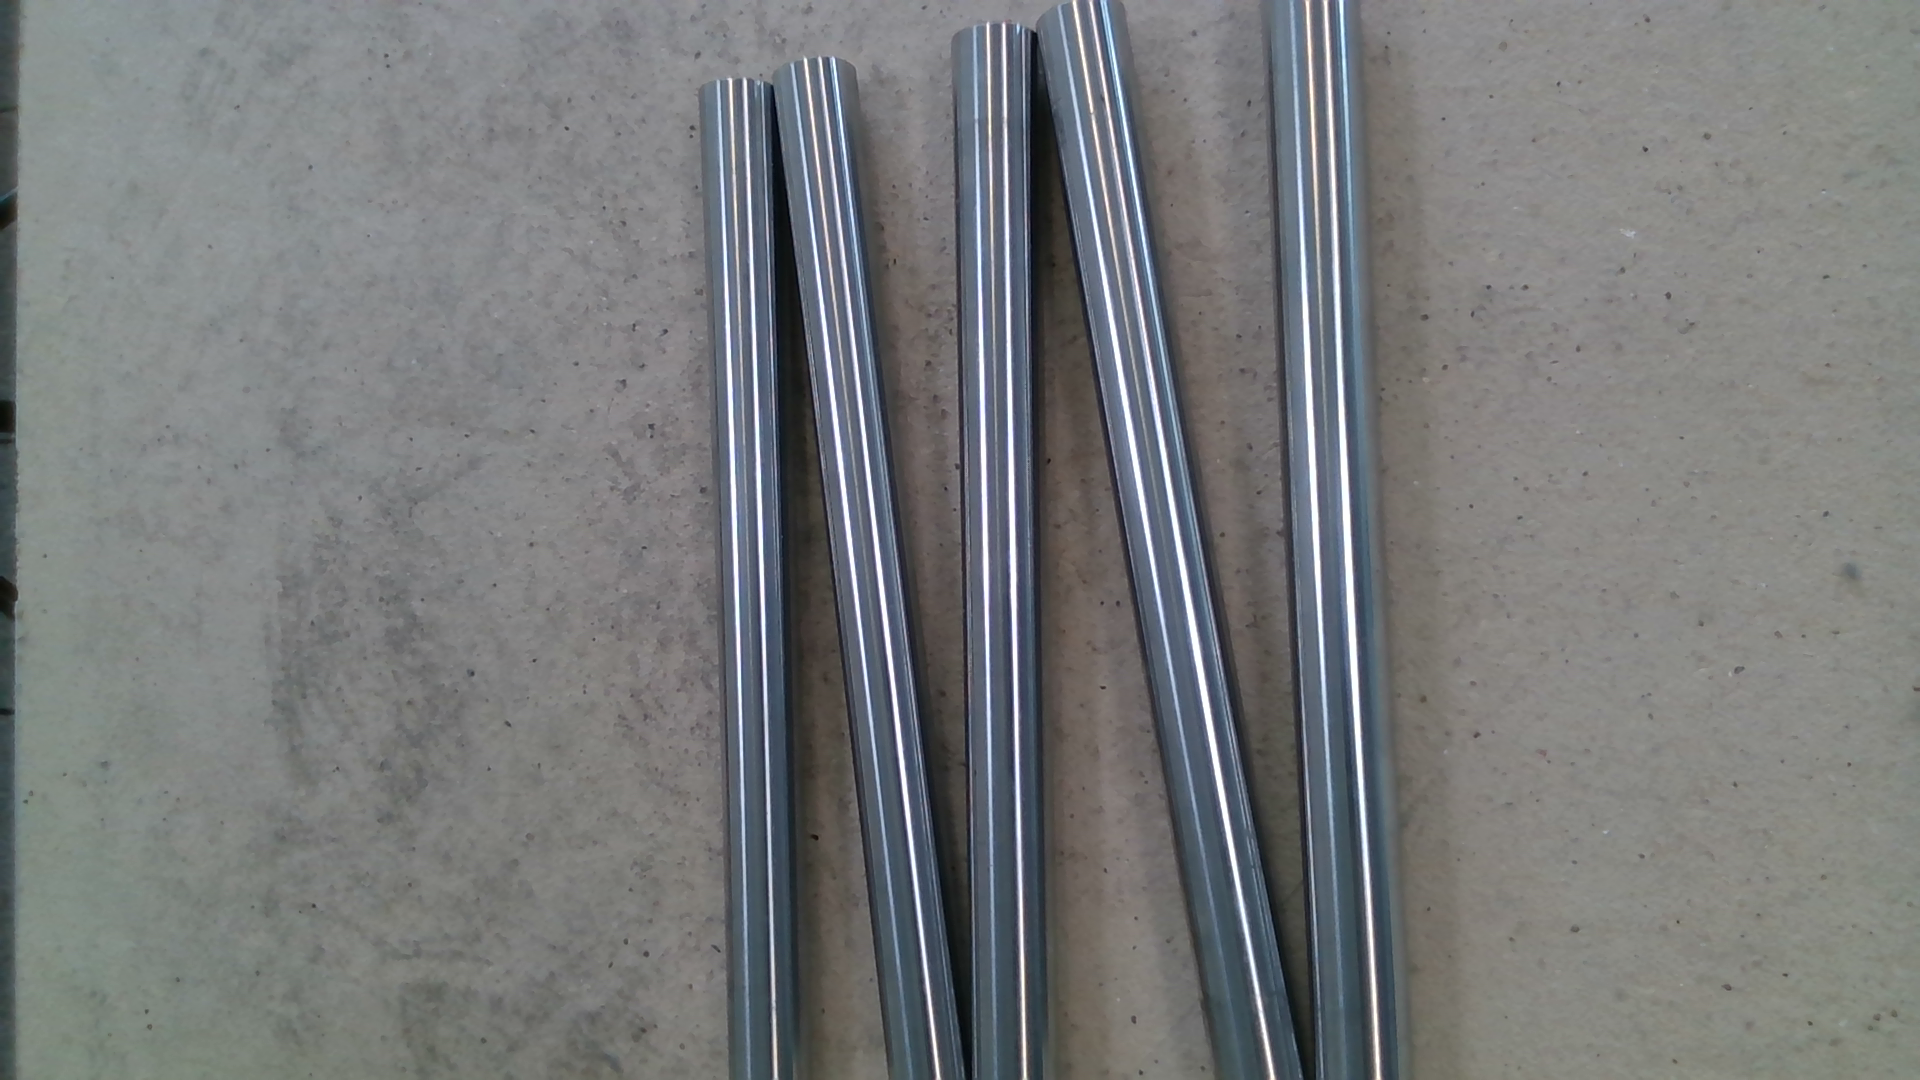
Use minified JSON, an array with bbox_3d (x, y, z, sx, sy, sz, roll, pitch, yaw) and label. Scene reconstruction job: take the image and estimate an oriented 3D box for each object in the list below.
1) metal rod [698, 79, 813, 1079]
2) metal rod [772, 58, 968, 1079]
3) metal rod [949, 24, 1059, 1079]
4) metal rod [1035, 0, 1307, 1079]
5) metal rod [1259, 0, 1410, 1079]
[{"bbox_3d":[-0.062,0.014,0.417,0.025,0.025,0.300,-2,90,20],"label":"metal rod"},{"bbox_3d":[-0.025,0.010,0.404,0.025,0.025,0.300,-8,88,20],"label":"metal rod"},{"bbox_3d":[0.013,0.009,0.389,0.025,0.025,0.300,-1,90,20],"label":"metal rod"},{"bbox_3d":[0.057,0.003,0.373,0.025,0.025,0.300,-10,87,20],"label":"metal rod"},{"bbox_3d":[0.097,0.001,0.359,0.025,0.025,0.300,-3,89,20],"label":"metal rod"}]
